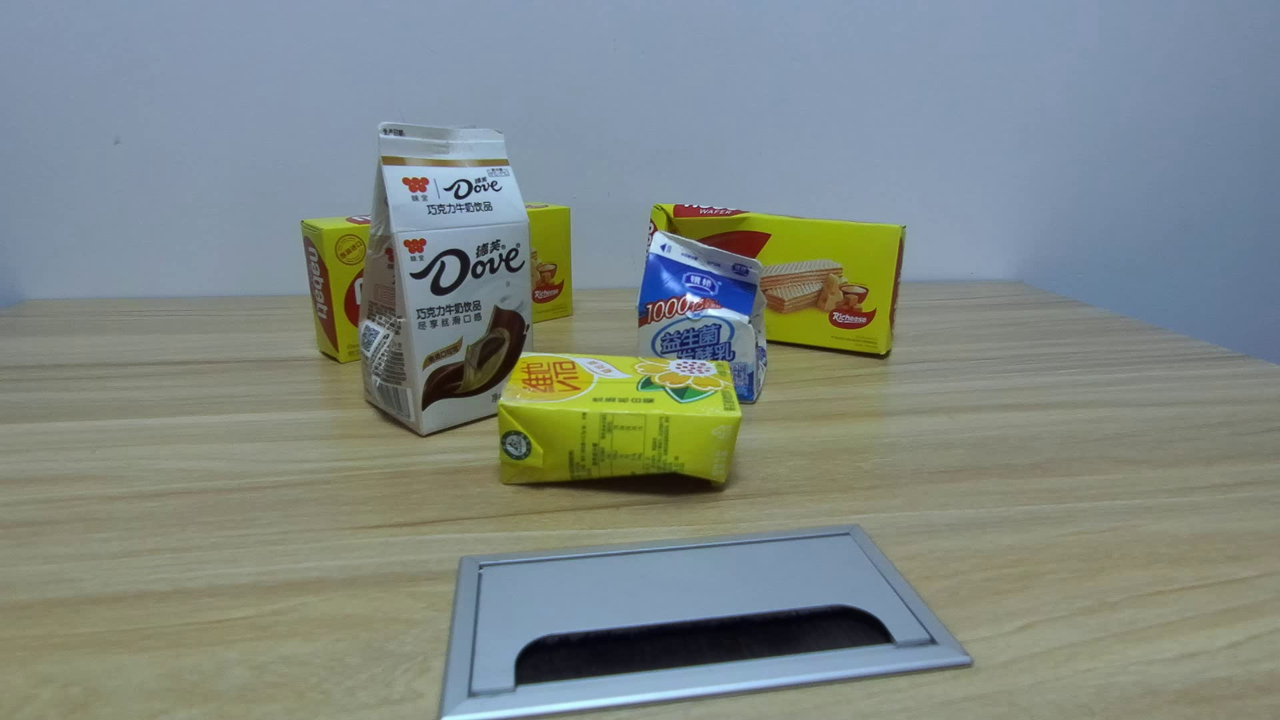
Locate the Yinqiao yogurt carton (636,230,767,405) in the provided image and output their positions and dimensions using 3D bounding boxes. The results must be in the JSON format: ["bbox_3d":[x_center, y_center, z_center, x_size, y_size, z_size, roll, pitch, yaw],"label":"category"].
[{"bbox_3d":[0.040,-0.032,0.443,0.083,0.093,0.077,6,20,14],"label":"Yinqiao yogurt carton"}]

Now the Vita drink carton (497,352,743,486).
[{"bbox_3d":[-0.009,0.030,0.340,0.108,0.043,0.076,3,22,0],"label":"Vita drink carton"}]

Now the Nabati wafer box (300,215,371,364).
[{"bbox_3d":[-0.142,-0.065,0.544,0.204,0.093,0.042,-15,23,-40],"label":"Nabati wafer box"}]

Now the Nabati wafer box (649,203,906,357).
[{"bbox_3d":[0.096,-0.065,0.548,0.202,0.096,0.042,10,9,23],"label":"Nabati wafer box"}]

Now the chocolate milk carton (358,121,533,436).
[{"bbox_3d":[-0.111,-0.048,0.388,0.085,0.155,0.072,-16,25,-41],"label":"chocolate milk carton"}]
